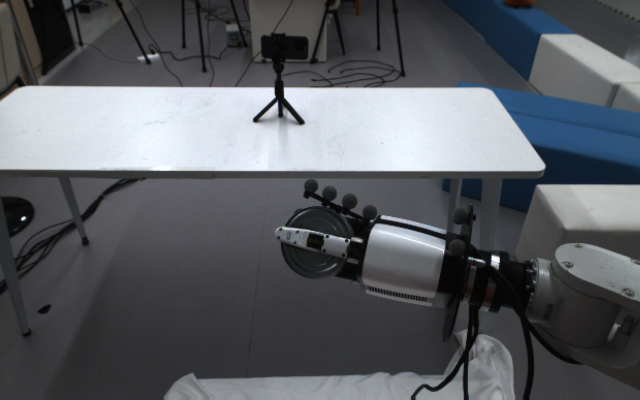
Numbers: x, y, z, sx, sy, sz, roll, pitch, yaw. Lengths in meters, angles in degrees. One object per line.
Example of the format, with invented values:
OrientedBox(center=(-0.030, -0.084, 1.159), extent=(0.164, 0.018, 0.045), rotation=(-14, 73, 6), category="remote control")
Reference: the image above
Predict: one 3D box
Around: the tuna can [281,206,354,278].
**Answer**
OrientedBox(center=(0.001, 0.049, 0.579), extent=(0.085, 0.085, 0.034), rotation=(13, -5, 16), category="tuna can")
